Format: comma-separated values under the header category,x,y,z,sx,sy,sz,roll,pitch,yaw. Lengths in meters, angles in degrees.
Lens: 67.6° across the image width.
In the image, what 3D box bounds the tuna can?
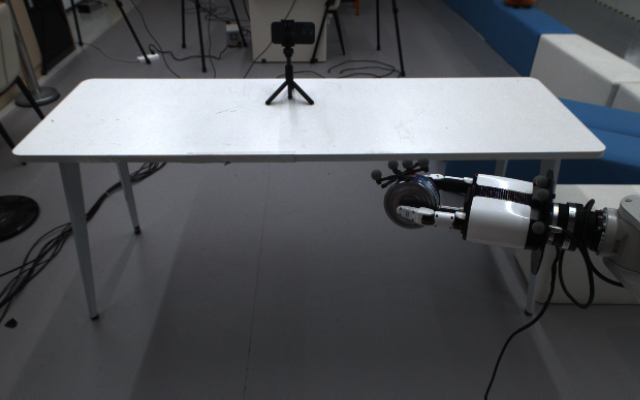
category,x,y,z,sx,sy,sz,roll,pitch,yaw
tuna can,0.147,0.001,0.773,0.085,0.085,0.034,15,30,17
